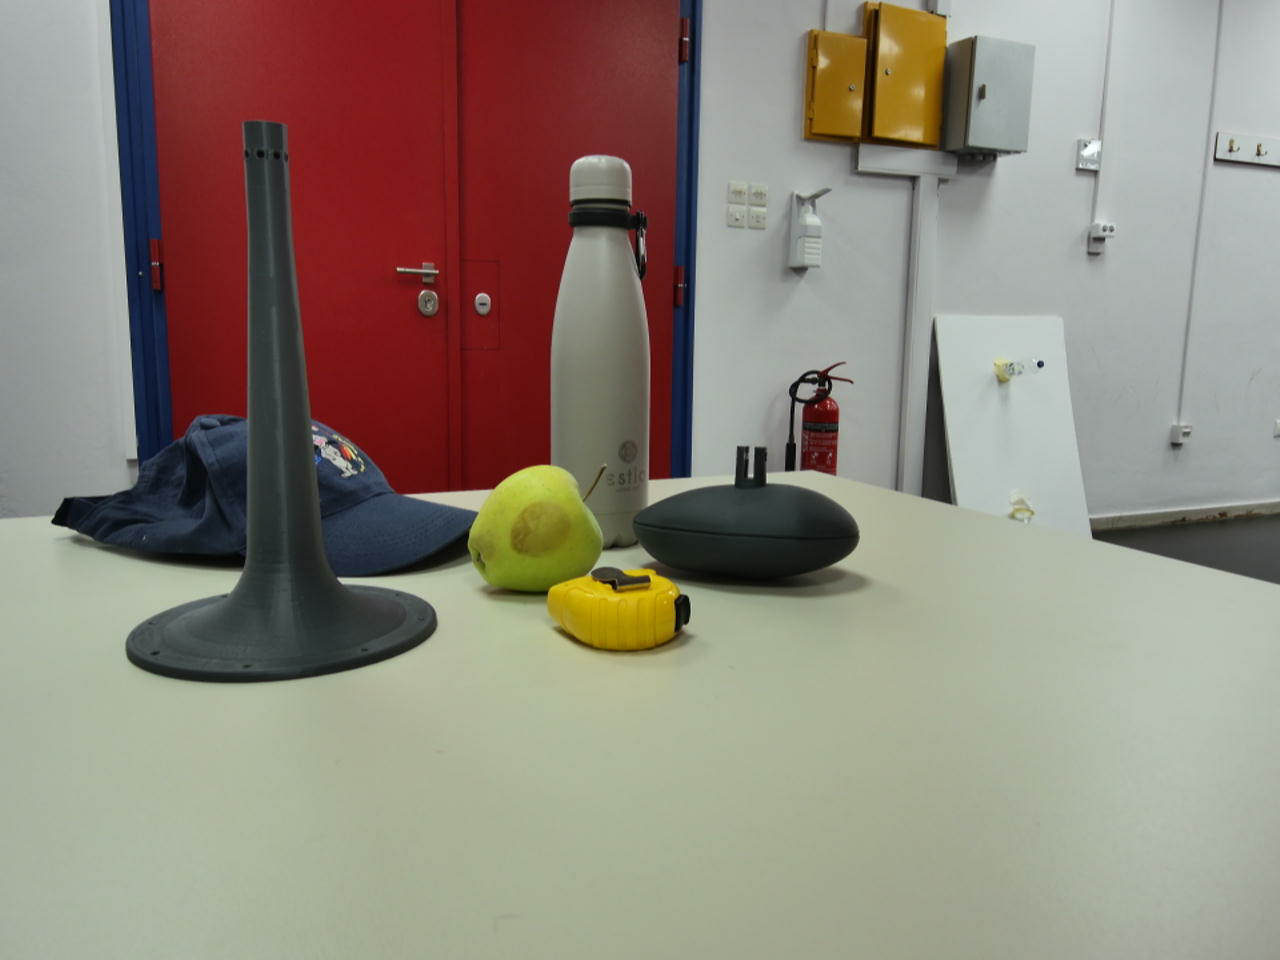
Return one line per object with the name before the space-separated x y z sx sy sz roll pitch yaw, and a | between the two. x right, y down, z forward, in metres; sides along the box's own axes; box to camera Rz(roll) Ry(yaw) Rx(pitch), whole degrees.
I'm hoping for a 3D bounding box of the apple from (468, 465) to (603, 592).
apple | -0.062 0.028 0.603 0.077 0.075 0.072 4 8 19
